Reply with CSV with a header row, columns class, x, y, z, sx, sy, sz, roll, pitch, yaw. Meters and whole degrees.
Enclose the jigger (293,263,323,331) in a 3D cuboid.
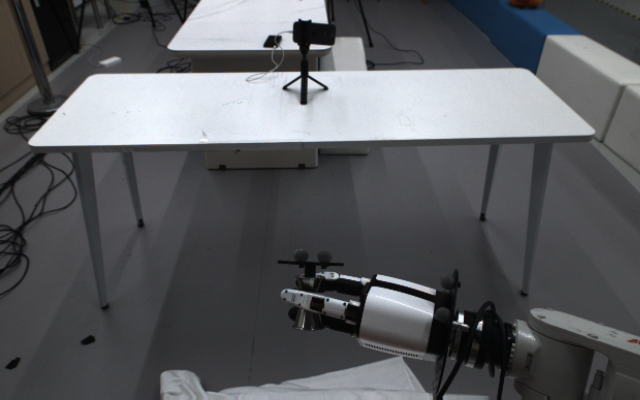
class,x,y,z,sx,sy,sz,roll,pitch,yaw
jigger,-0.014,0.135,0.647,0.043,0.071,0.043,1,-6,0
